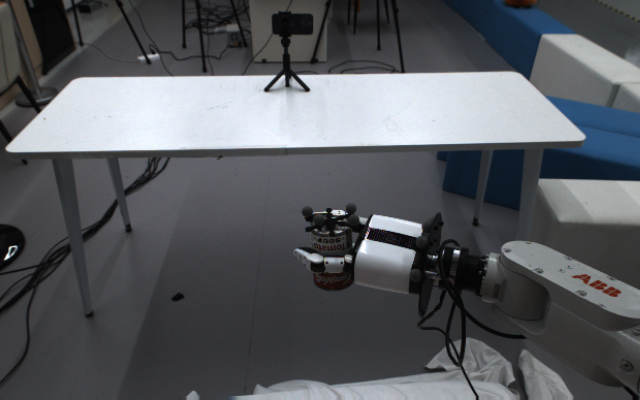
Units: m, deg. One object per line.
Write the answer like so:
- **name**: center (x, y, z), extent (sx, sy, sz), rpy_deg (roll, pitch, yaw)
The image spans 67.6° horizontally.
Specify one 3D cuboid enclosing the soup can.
- **soup can**: center (0.020, 0.083, 0.766), extent (0.067, 0.101, 0.067), rpy_deg (-3, 26, 2)
